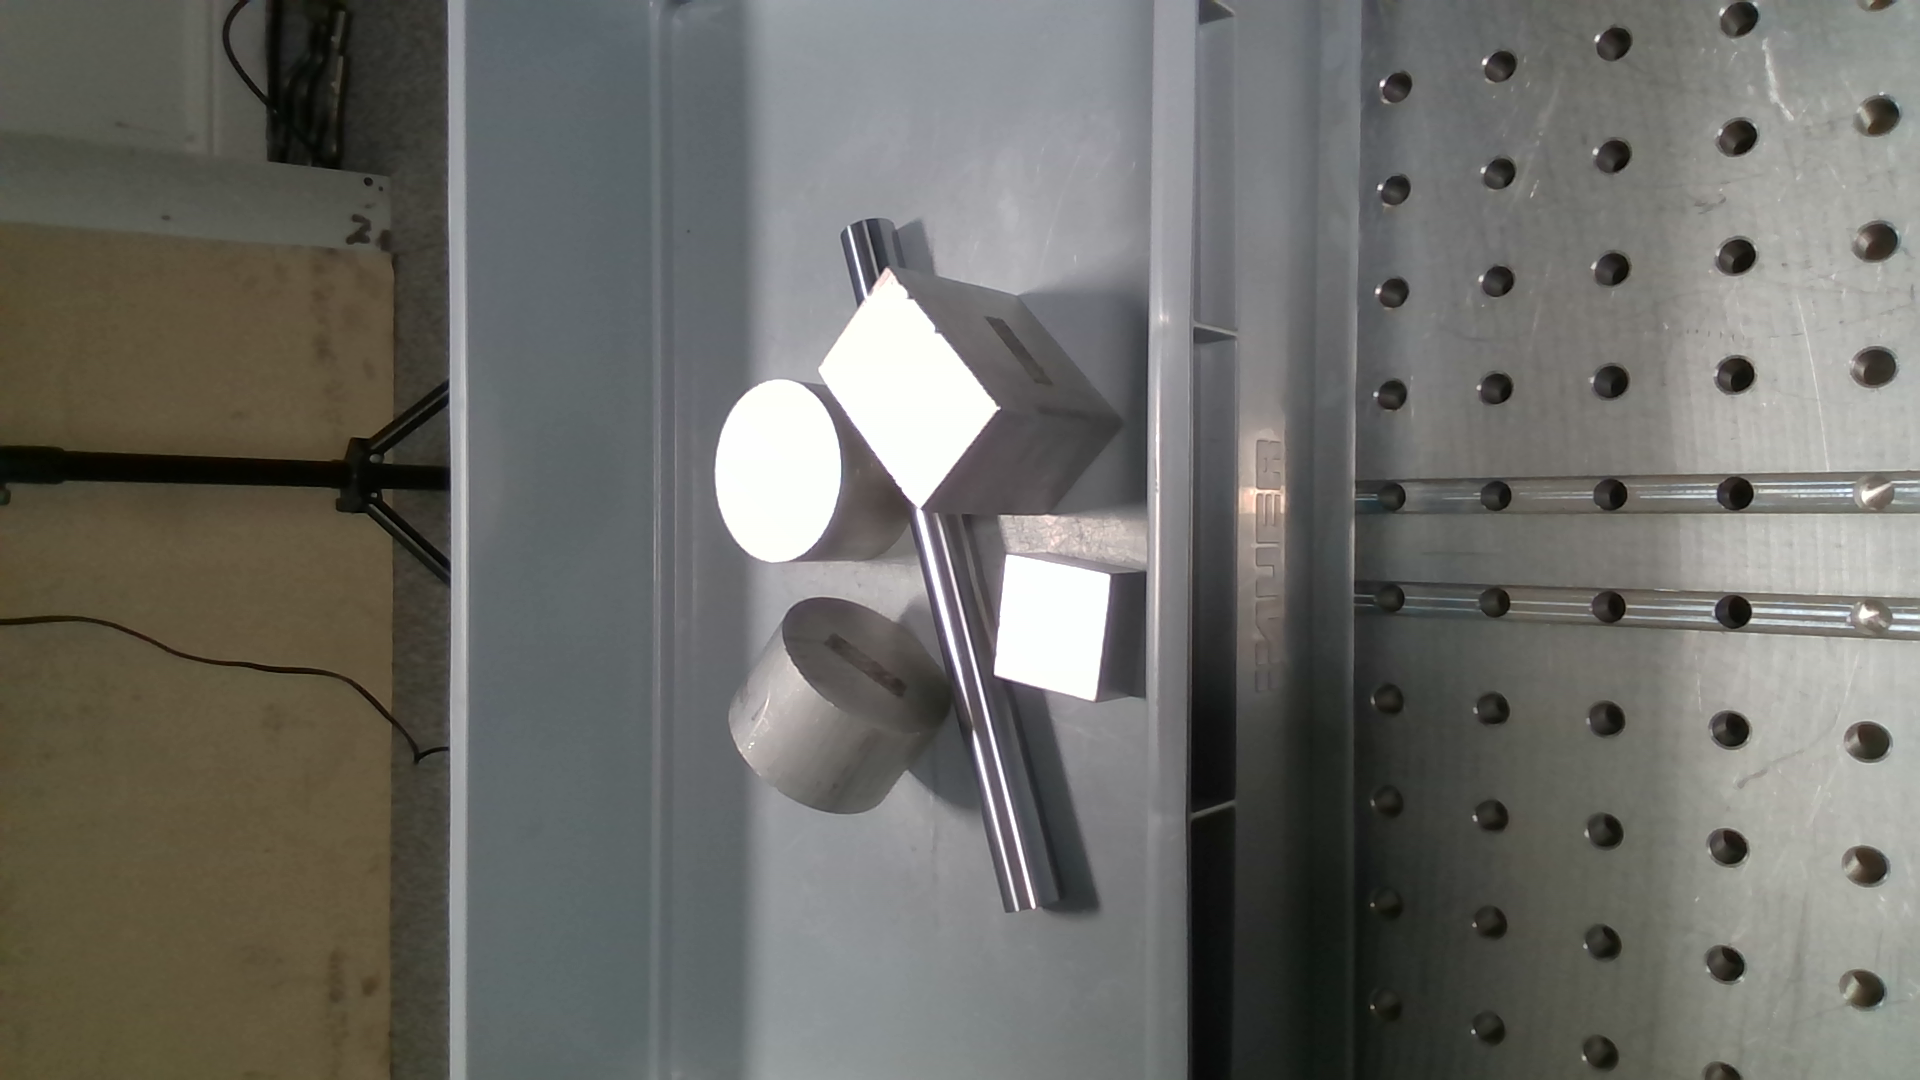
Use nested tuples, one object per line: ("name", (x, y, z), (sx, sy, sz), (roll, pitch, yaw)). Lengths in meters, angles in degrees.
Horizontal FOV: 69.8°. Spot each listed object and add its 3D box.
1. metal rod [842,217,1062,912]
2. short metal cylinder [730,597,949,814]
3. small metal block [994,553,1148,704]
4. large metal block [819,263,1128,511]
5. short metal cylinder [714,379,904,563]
("metal rod", (-0.006, 0.005, 0.586), (0.025, 0.025, 0.300), (-23, 76, 38))
("short metal cylinder", (-0.052, 0.070, 0.590), (0.080, 0.080, 0.050), (50, 120, 28))
("small metal block", (0.043, 0.034, 0.544), (0.050, 0.025, 0.050), (11, 98, 40))
("large metal block", (0.005, -0.058, 0.540), (0.050, 0.080, 0.080), (-51, 60, 28))
("short metal cylinder", (-0.065, -0.030, 0.618), (0.080, 0.050, 0.080), (0, 91, 40))
